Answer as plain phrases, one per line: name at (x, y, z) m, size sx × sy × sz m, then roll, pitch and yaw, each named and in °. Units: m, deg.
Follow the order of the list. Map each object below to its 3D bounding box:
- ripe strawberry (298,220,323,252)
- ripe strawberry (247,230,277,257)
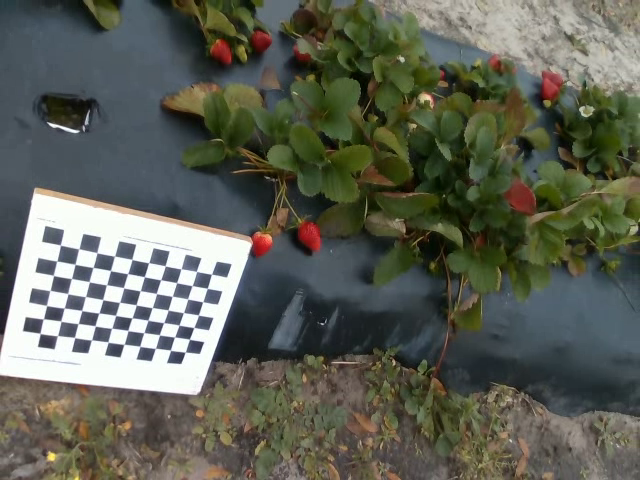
ripe strawberry at (-0.013, -0.006, 0.932) m, size 0.044 × 0.059 × 0.042 m, roll -26°, pitch 8°, yaw 6°
ripe strawberry at (-0.085, 0.007, 0.899) m, size 0.036 × 0.041 × 0.027 m, roll 16°, pitch 1°, yaw -15°
